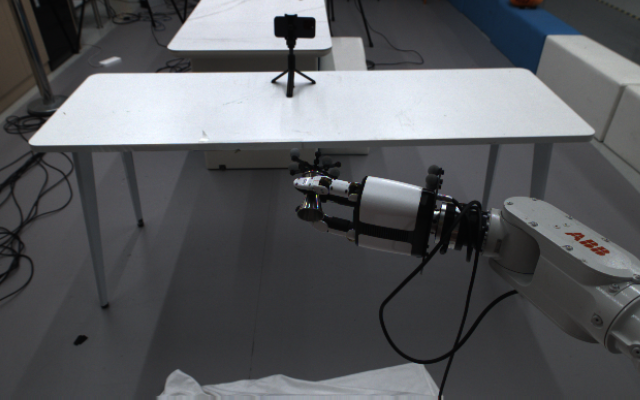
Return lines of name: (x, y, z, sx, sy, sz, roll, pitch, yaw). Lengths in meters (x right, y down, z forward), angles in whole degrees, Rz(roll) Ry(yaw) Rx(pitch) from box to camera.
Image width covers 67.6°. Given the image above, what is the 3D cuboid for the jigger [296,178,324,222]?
jigger: (-0.013, -0.009, 0.746, 0.043, 0.043, 0.071, 4, 60, 2)
